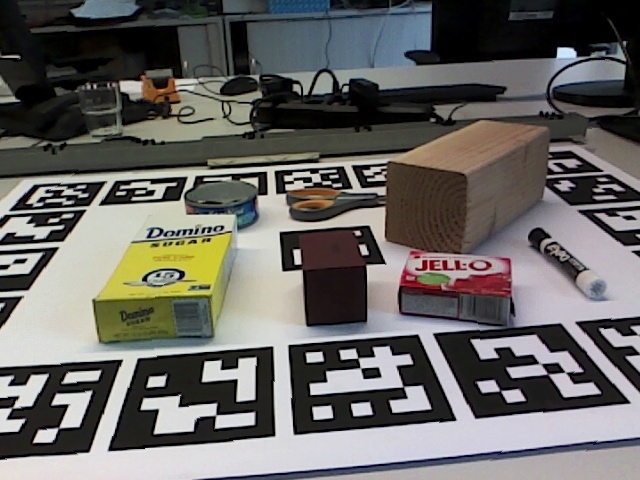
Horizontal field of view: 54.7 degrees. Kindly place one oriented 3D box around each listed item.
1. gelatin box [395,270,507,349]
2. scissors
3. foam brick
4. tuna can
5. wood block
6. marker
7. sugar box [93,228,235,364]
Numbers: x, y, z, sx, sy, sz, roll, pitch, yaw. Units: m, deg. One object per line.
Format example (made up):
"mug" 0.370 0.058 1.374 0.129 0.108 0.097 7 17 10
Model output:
"gelatin box" 0.114 0.057 0.532 0.089 0.030 0.073 4 28 15
"scissors" 0.050 -0.038 0.748 0.203 0.016 0.088 -3 26 5
"foam brick" 0.009 0.048 0.530 0.053 0.051 0.078 -4 27 -1
"tuna can" -0.123 -0.031 0.728 0.086 0.033 0.086 -3 27 1
"wood block" 0.169 -0.050 0.681 0.090 0.091 0.205 17 32 36
"marker" 0.220 0.034 0.574 0.019 0.019 0.121 -4 28 -2
"sugar box" -0.135 0.044 0.574 0.093 0.045 0.177 -2 26 1
